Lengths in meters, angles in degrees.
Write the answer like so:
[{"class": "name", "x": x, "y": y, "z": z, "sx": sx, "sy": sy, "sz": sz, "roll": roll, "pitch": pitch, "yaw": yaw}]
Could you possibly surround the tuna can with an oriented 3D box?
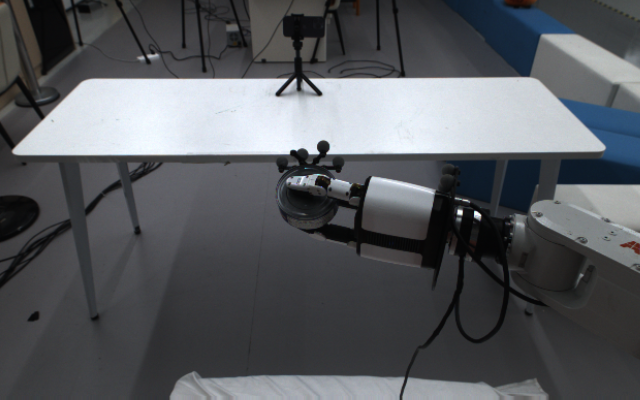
[{"class": "tuna can", "x": -0.015, "y": 0.000, "z": 0.650, "sx": 0.085, "sy": 0.034, "sz": 0.085, "roll": -1, "pitch": 58, "yaw": 2}]
